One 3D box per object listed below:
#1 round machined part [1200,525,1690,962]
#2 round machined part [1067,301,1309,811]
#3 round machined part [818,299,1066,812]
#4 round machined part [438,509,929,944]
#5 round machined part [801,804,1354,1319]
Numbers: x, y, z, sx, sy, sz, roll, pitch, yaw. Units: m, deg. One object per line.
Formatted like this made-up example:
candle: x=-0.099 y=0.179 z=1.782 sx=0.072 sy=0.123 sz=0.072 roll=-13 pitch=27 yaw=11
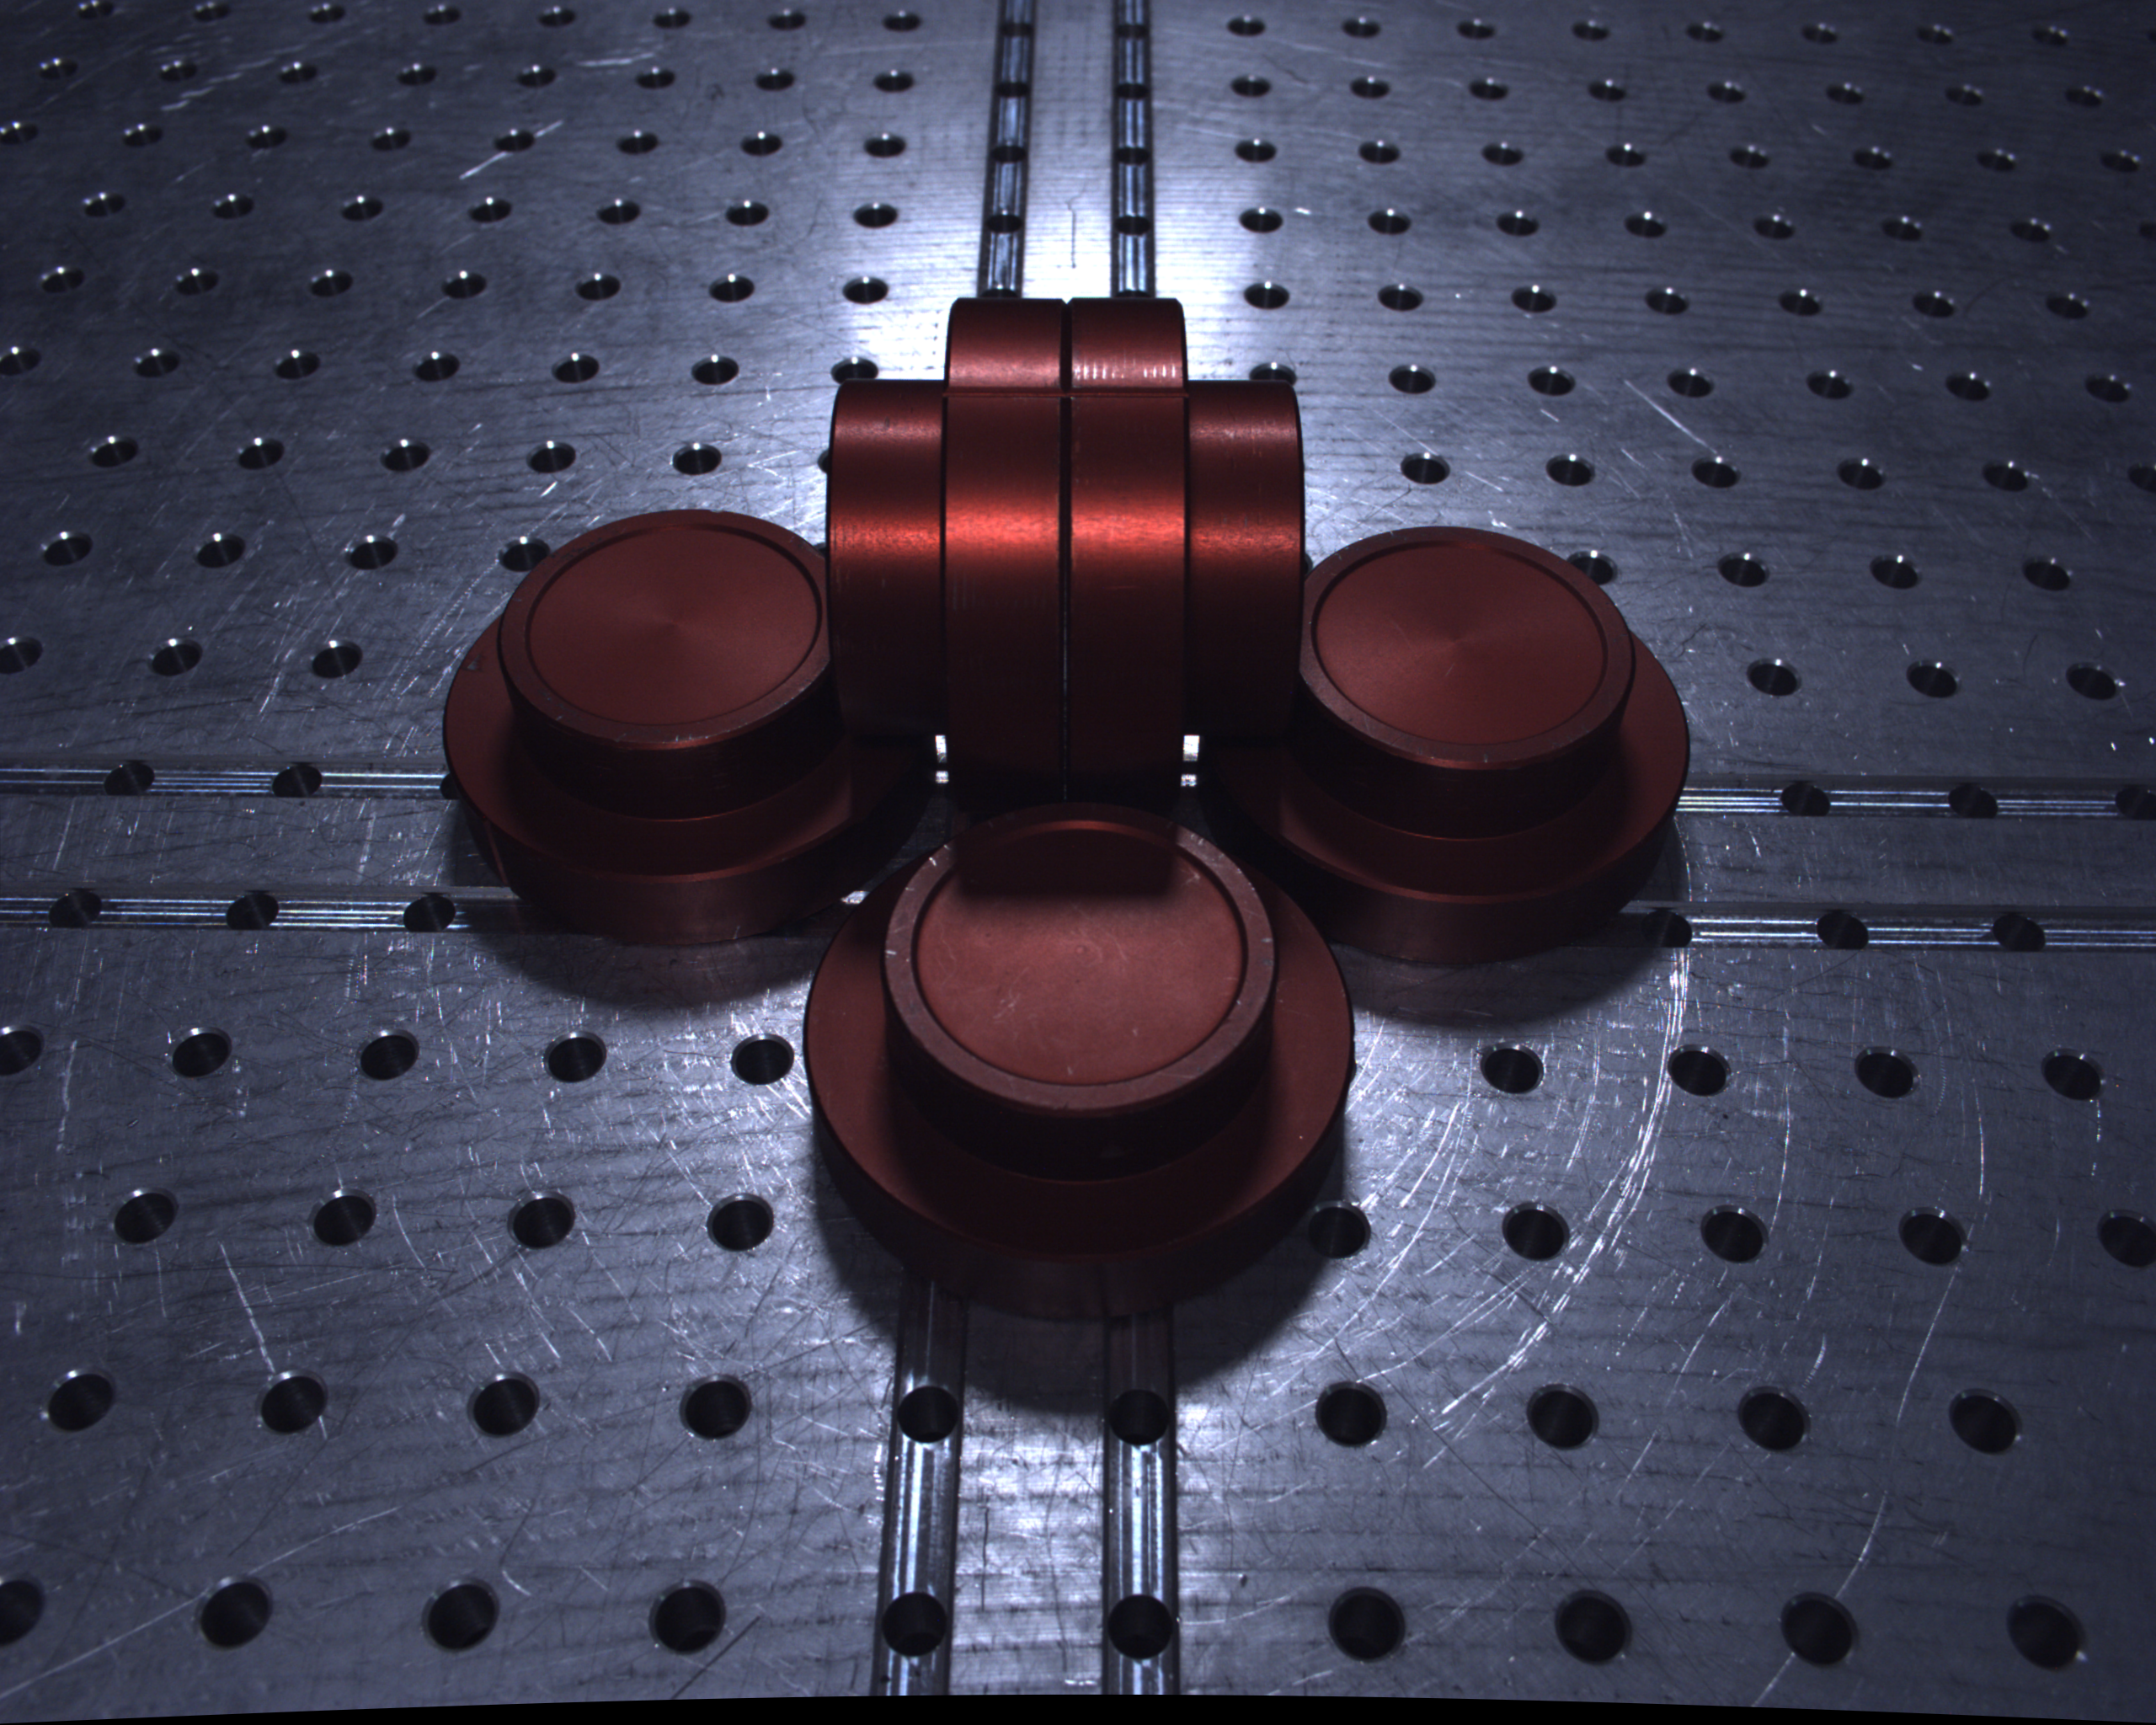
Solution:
round machined part: x=0.074 y=-0.031 z=0.422 sx=0.099 sy=0.042 sz=0.098 roll=0 pitch=50 yaw=0
round machined part: x=0.019 y=-0.058 z=0.402 sx=0.042 sy=0.097 sz=0.098 roll=-1 pitch=50 yaw=-1
round machined part: x=-0.024 y=-0.058 z=0.401 sx=0.042 sy=0.097 sz=0.098 roll=1 pitch=50 yaw=1
round machined part: x=-0.080 y=-0.034 z=0.424 sx=0.099 sy=0.042 sz=0.098 roll=0 pitch=50 yaw=0
round machined part: x=0.000 y=0.028 z=0.373 sx=0.099 sy=0.042 sz=0.098 roll=0 pitch=50 yaw=0
